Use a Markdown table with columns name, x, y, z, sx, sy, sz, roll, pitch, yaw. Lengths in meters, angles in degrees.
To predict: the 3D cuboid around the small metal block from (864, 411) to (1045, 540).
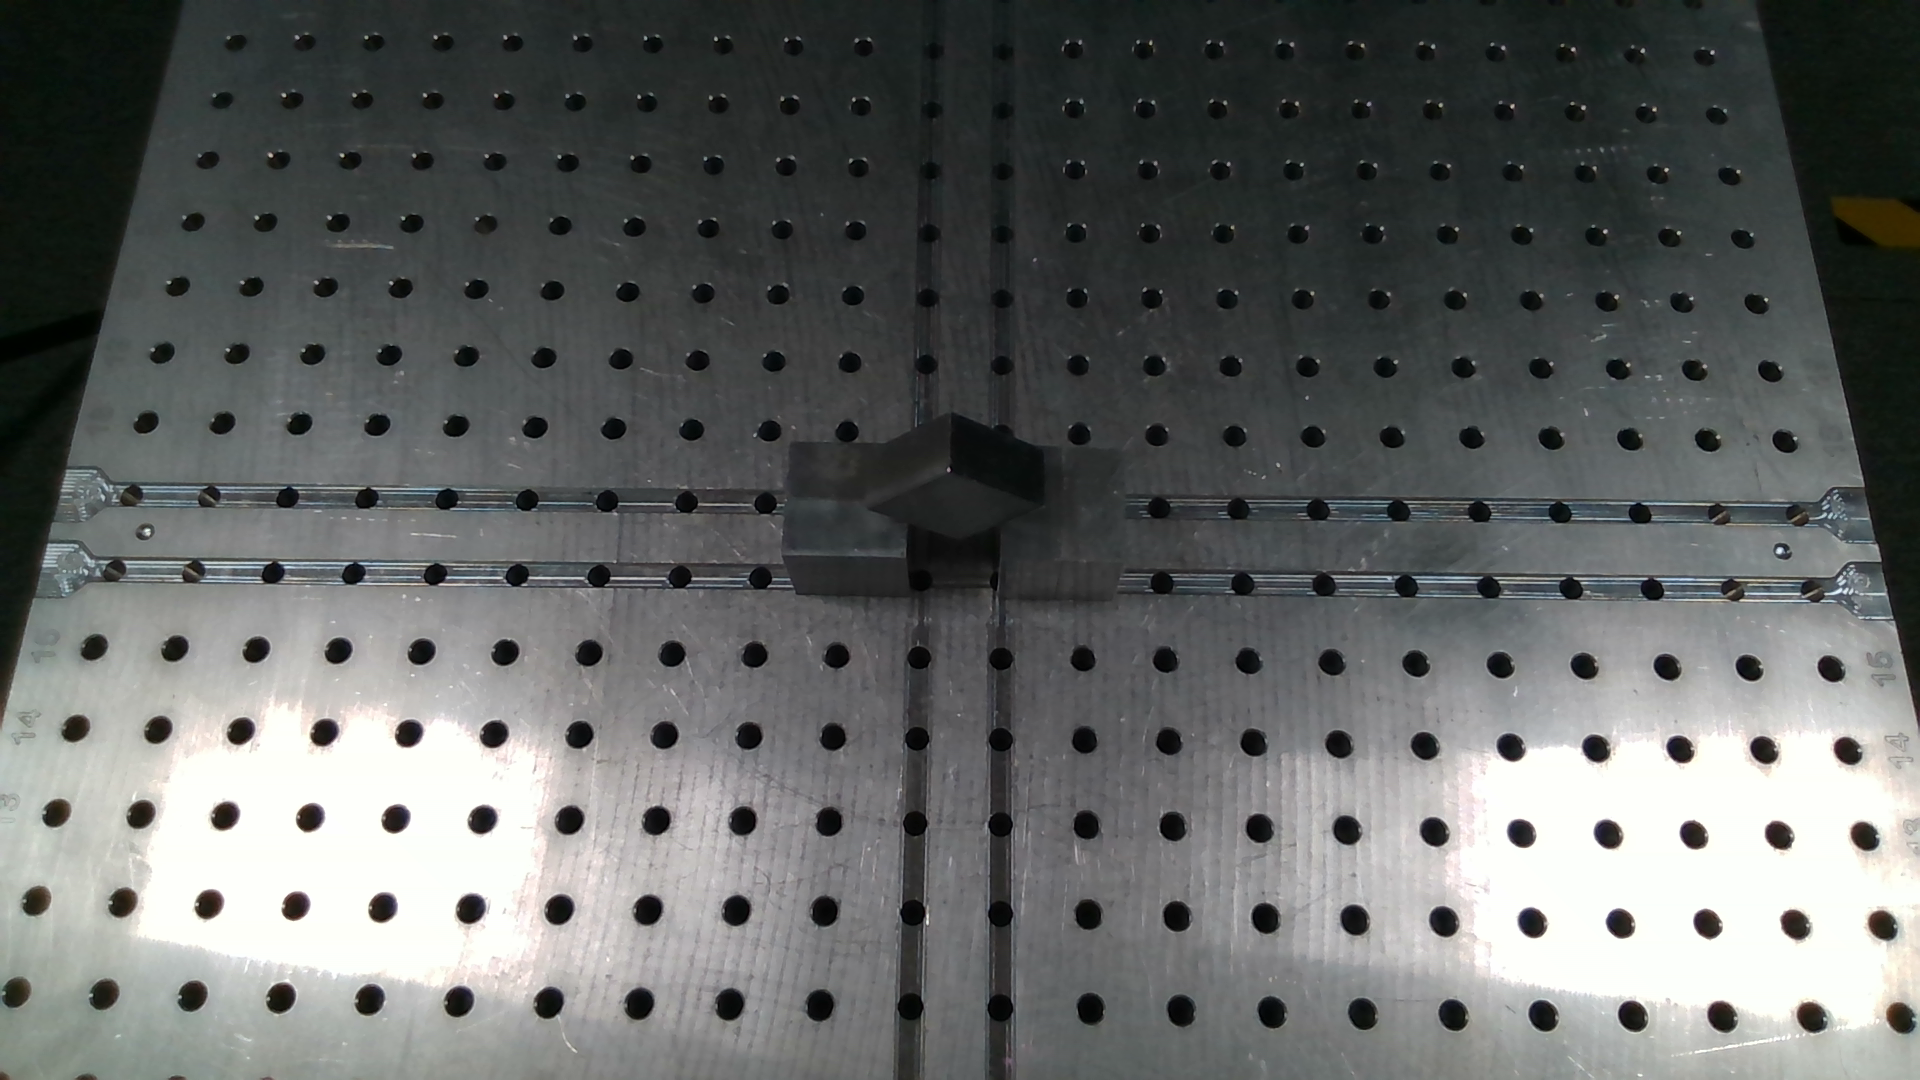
| name | x | y | z | sx | sy | sz | roll | pitch | yaw |
| --- | --- | --- | --- | --- | --- | --- | --- | --- | --- |
| small metal block | -0.002 | -0.024 | 0.542 | 0.050 | 0.050 | 0.025 | 18 | 63 | -39 |

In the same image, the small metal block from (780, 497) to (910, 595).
| name | x | y | z | sx | sy | sz | roll | pitch | yaw |
| --- | --- | --- | --- | --- | --- | --- | --- | --- | --- |
| small metal block | -0.046 | 0.003 | 0.575 | 0.050 | 0.050 | 0.025 | 1 | 70 | 0 |

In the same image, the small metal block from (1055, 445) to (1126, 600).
| name | x | y | z | sx | sy | sz | roll | pitch | yaw |
| --- | --- | --- | --- | --- | --- | --- | --- | --- | --- |
| small metal block | 0.054 | -0.006 | 0.579 | 0.025 | 0.050 | 0.050 | 2 | 70 | 1 |

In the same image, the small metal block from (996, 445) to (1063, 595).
| name | x | y | z | sx | sy | sz | roll | pitch | yaw |
| --- | --- | --- | --- | --- | --- | --- | --- | --- | --- |
| small metal block | 0.029 | -0.007 | 0.579 | 0.025 | 0.050 | 0.050 | 2 | 70 | 1 |

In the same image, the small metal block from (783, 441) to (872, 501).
| name | x | y | z | sx | sy | sz | roll | pitch | yaw |
| --- | --- | --- | --- | --- | --- | --- | --- | --- | --- |
| small metal block | -0.046 | -0.020 | 0.584 | 0.050 | 0.050 | 0.025 | 1 | 70 | 0 |
